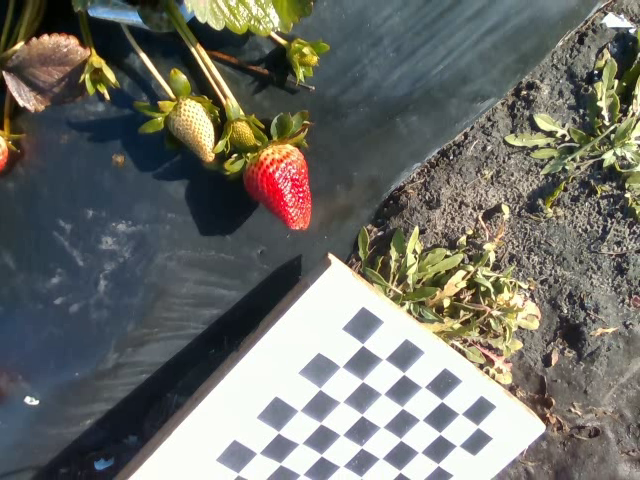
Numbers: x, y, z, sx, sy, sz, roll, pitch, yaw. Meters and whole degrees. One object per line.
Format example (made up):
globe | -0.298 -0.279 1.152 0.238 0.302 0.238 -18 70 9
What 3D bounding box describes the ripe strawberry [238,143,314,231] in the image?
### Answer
ripe strawberry | -0.022 -0.027 0.345 0.042 0.059 0.042 -29 17 -3
